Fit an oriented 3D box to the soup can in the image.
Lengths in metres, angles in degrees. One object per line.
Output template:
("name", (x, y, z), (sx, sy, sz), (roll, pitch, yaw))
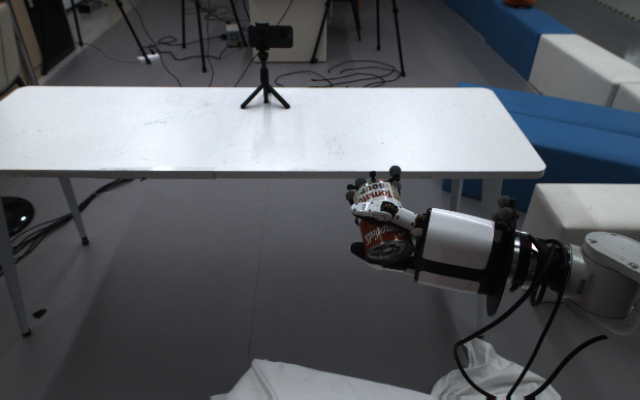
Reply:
("soup can", (0.089, 0.030, 0.685), (0.067, 0.067, 0.101), (-5, 57, -10))
